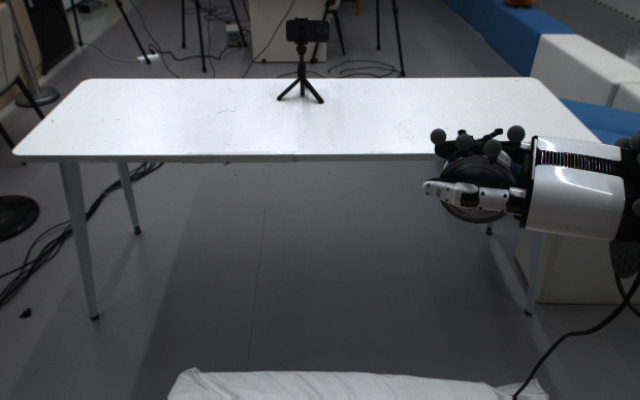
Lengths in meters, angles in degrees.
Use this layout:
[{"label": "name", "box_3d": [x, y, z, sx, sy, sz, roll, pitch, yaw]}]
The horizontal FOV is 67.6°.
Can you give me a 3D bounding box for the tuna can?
[{"label": "tuna can", "box_3d": [0.180, -0.020, 0.547, 0.085, 0.085, 0.034, 15, 34, 18]}]
